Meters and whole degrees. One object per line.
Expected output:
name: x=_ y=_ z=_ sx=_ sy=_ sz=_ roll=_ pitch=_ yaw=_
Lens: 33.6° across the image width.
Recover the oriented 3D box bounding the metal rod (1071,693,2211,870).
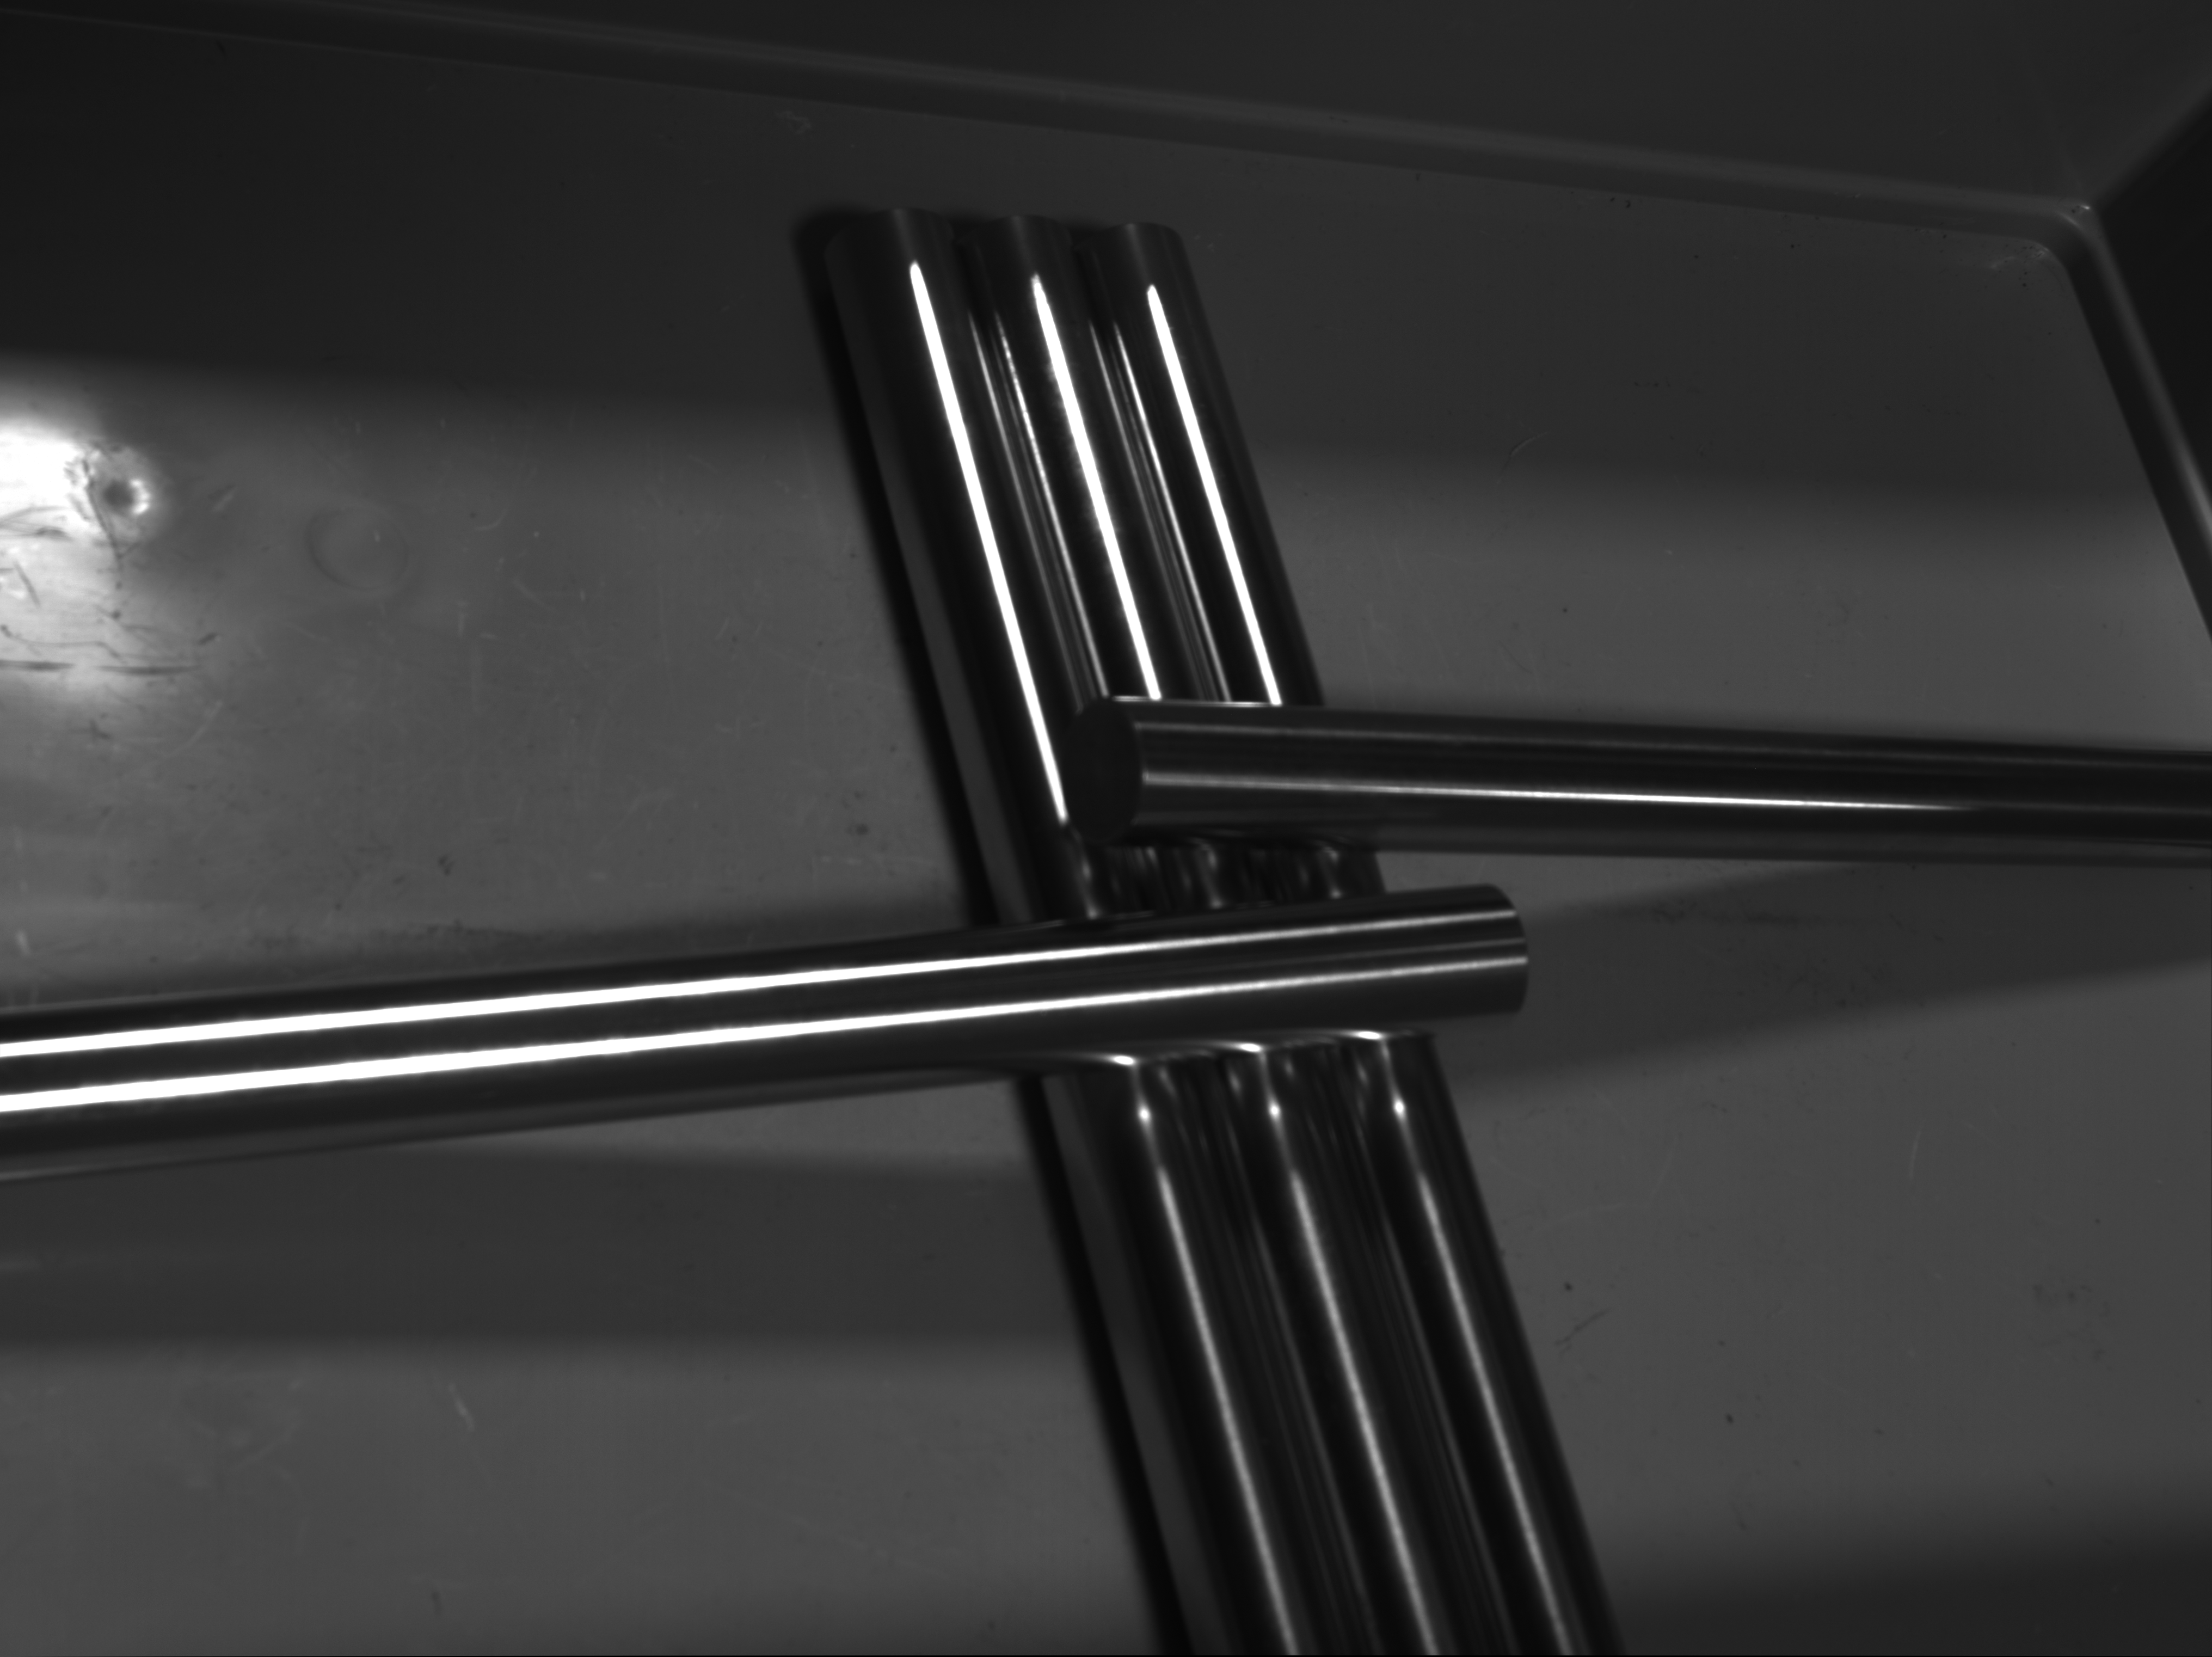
metal rod: x=0.125 y=-0.007 z=0.687 sx=0.301 sy=0.025 sz=0.025 roll=1 pitch=61 yaw=-35

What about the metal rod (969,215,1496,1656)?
metal rod: x=0.019 y=0.023 z=0.635 sx=0.025 sy=0.025 sz=0.300 roll=-1 pitch=62 yaw=-29

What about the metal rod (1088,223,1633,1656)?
metal rod: x=0.042 y=0.022 z=0.648 sx=0.025 sy=0.025 sz=0.300 roll=-1 pitch=62 yaw=-29

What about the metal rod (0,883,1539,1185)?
metal rod: x=-0.071 y=0.032 z=0.561 sx=0.301 sy=0.025 sz=0.025 roll=-4 pitch=64 yaw=-23

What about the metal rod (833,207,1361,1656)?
metal rod: x=-0.002 y=0.023 z=0.623 sx=0.025 sy=0.025 sz=0.300 roll=-1 pitch=62 yaw=-29
